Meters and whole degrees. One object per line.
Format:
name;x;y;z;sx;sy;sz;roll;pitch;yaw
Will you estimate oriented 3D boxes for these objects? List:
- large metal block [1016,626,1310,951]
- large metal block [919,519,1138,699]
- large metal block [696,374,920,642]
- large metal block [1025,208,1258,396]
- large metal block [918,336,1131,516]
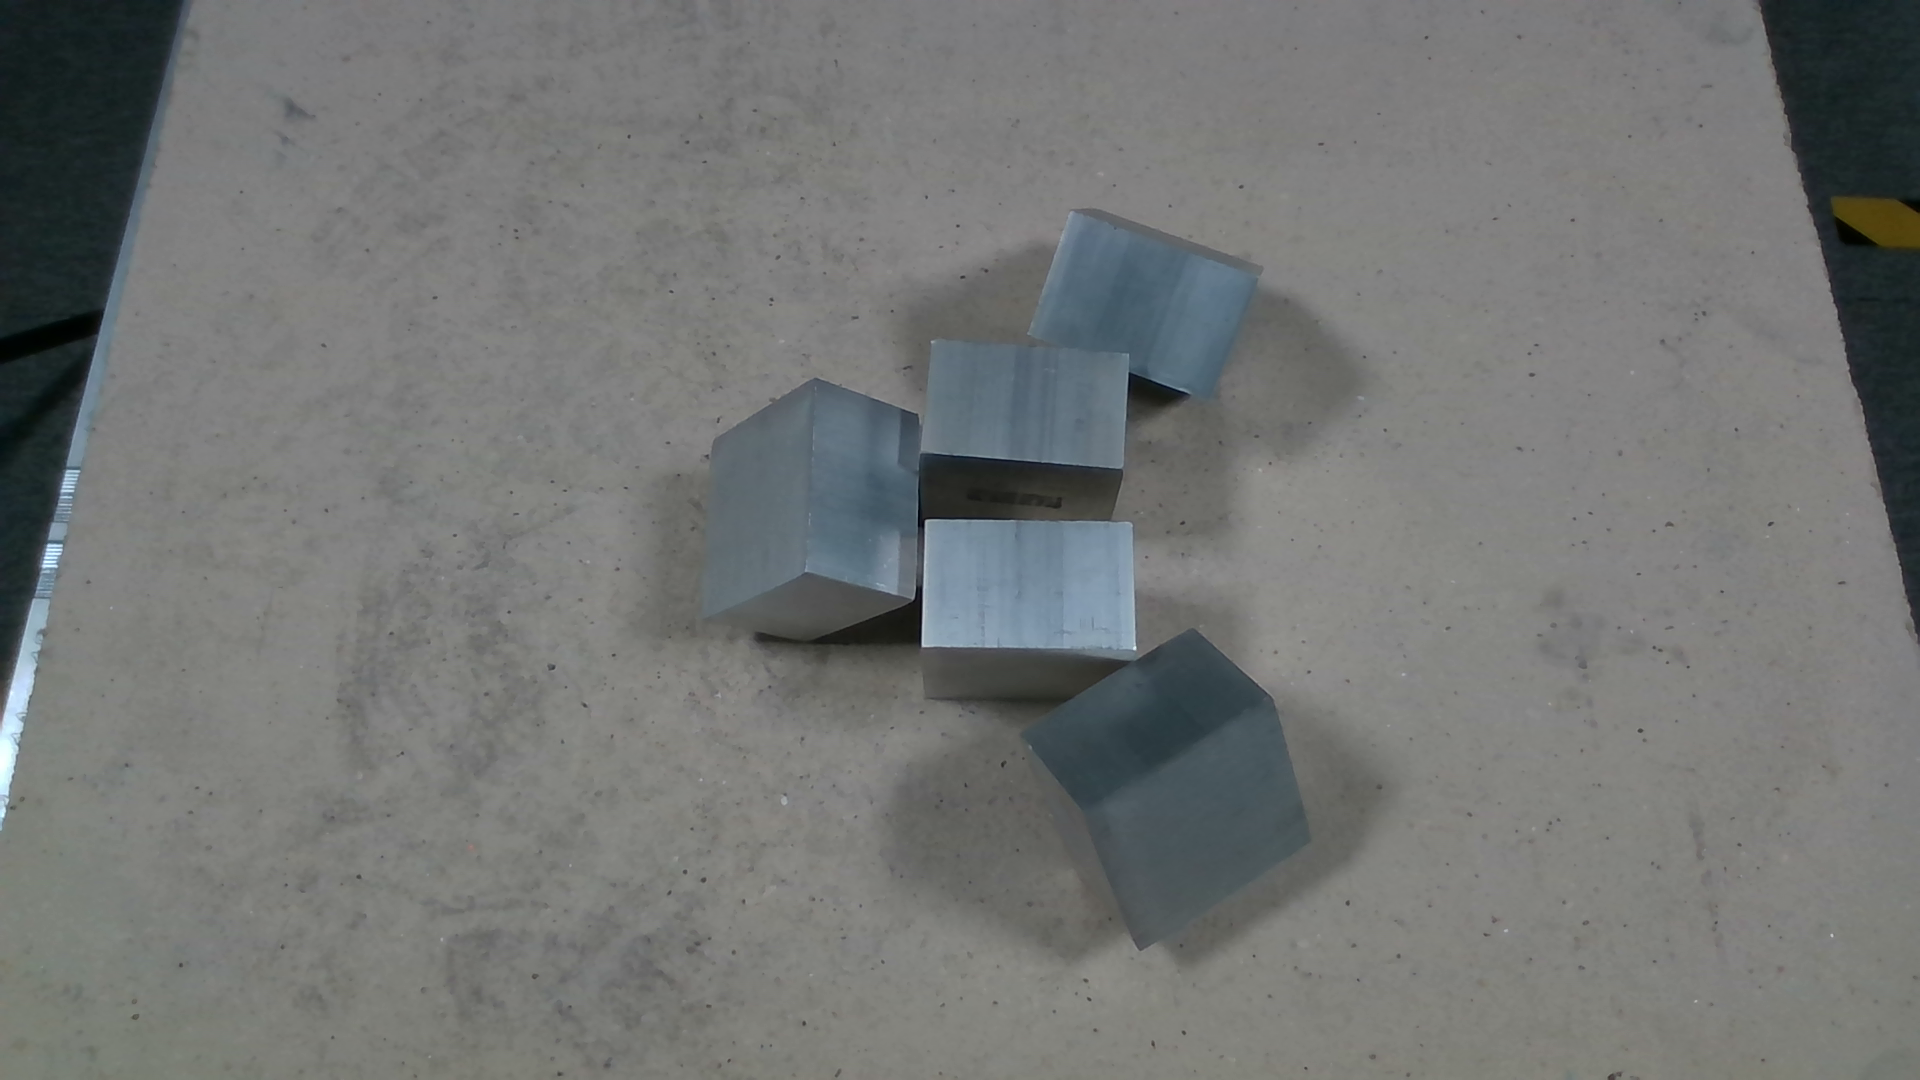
large metal block;0.078;0.093;0.519;0.080;0.080;0.050;-29;35;-11
large metal block;0.025;0.030;0.549;0.080;0.080;0.050;1;70;0
large metal block;-0.062;-0.010;0.556;0.050;0.080;0.080;16;65;-36
large metal block;0.080;-0.104;0.587;0.080;0.080;0.050;21;107;7
large metal block;0.026;-0.041;0.574;0.080;0.080;0.050;4;70;2
